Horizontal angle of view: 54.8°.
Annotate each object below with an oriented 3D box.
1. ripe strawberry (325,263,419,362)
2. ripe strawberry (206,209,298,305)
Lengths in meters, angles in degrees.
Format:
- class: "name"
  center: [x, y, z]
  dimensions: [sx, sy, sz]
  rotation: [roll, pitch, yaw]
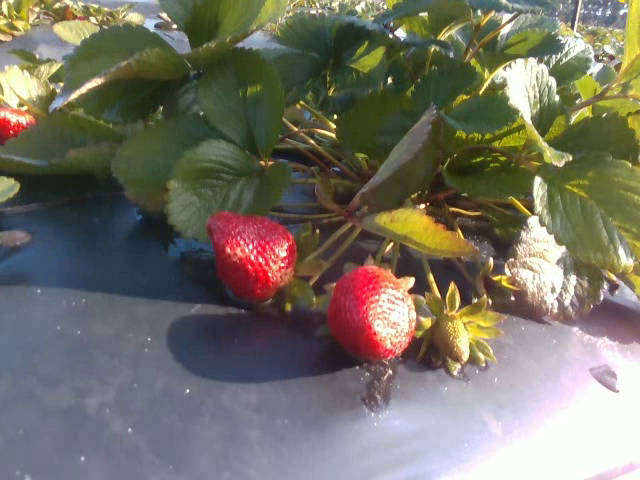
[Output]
- class: "ripe strawberry"
  center: [0.022, 0.029, 0.243]
  dimensions: [0.043, 0.038, 0.053]
  rotation: [31, 7, 0]
- class: "ripe strawberry"
  center: [-0.032, 0.006, 0.282]
  dimensions: [0.054, 0.048, 0.039]
  rotation: [29, -48, -35]
